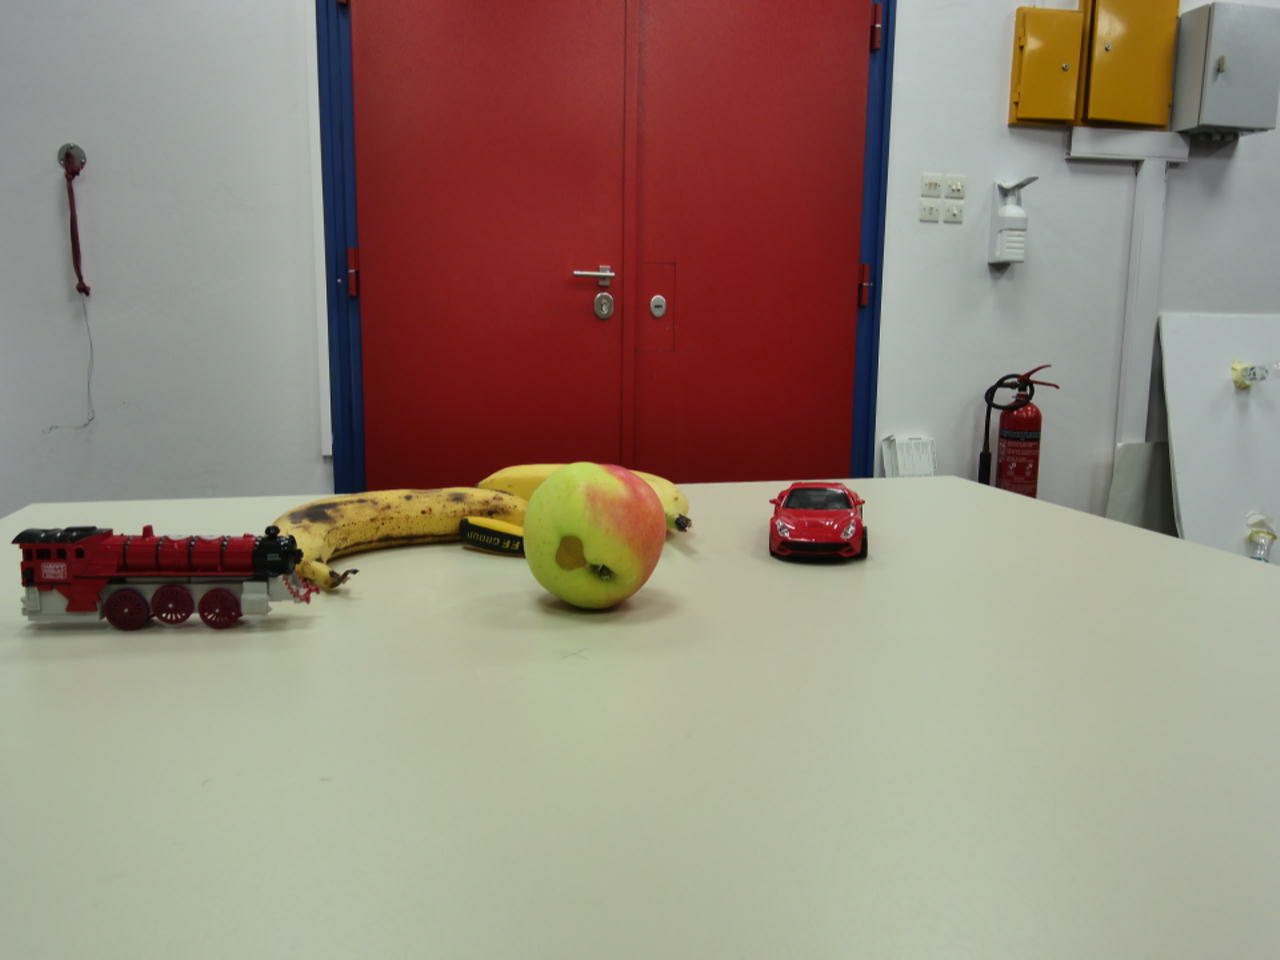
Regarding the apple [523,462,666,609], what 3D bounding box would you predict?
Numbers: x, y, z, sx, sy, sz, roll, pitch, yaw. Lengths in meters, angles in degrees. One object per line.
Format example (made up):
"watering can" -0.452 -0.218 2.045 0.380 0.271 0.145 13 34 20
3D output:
"apple" -0.023 0.028 0.521 0.075 0.074 0.075 -5 8 -33
